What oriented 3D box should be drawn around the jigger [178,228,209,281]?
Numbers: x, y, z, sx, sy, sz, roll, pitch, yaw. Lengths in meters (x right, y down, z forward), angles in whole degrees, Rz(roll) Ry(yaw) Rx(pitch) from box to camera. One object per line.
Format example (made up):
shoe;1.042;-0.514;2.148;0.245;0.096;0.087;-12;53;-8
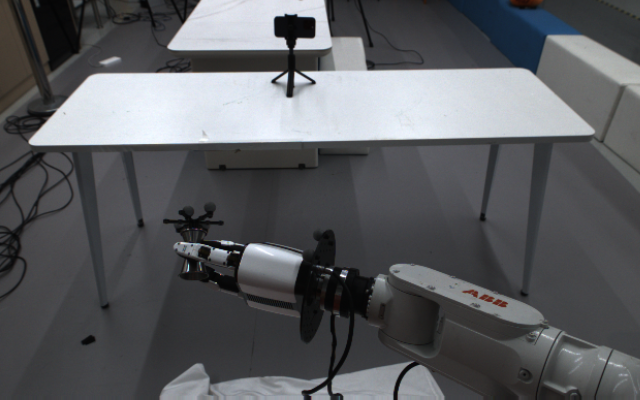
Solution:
jigger;-0.187;0.080;0.716;0.043;0.043;0.071;-3;66;-7
